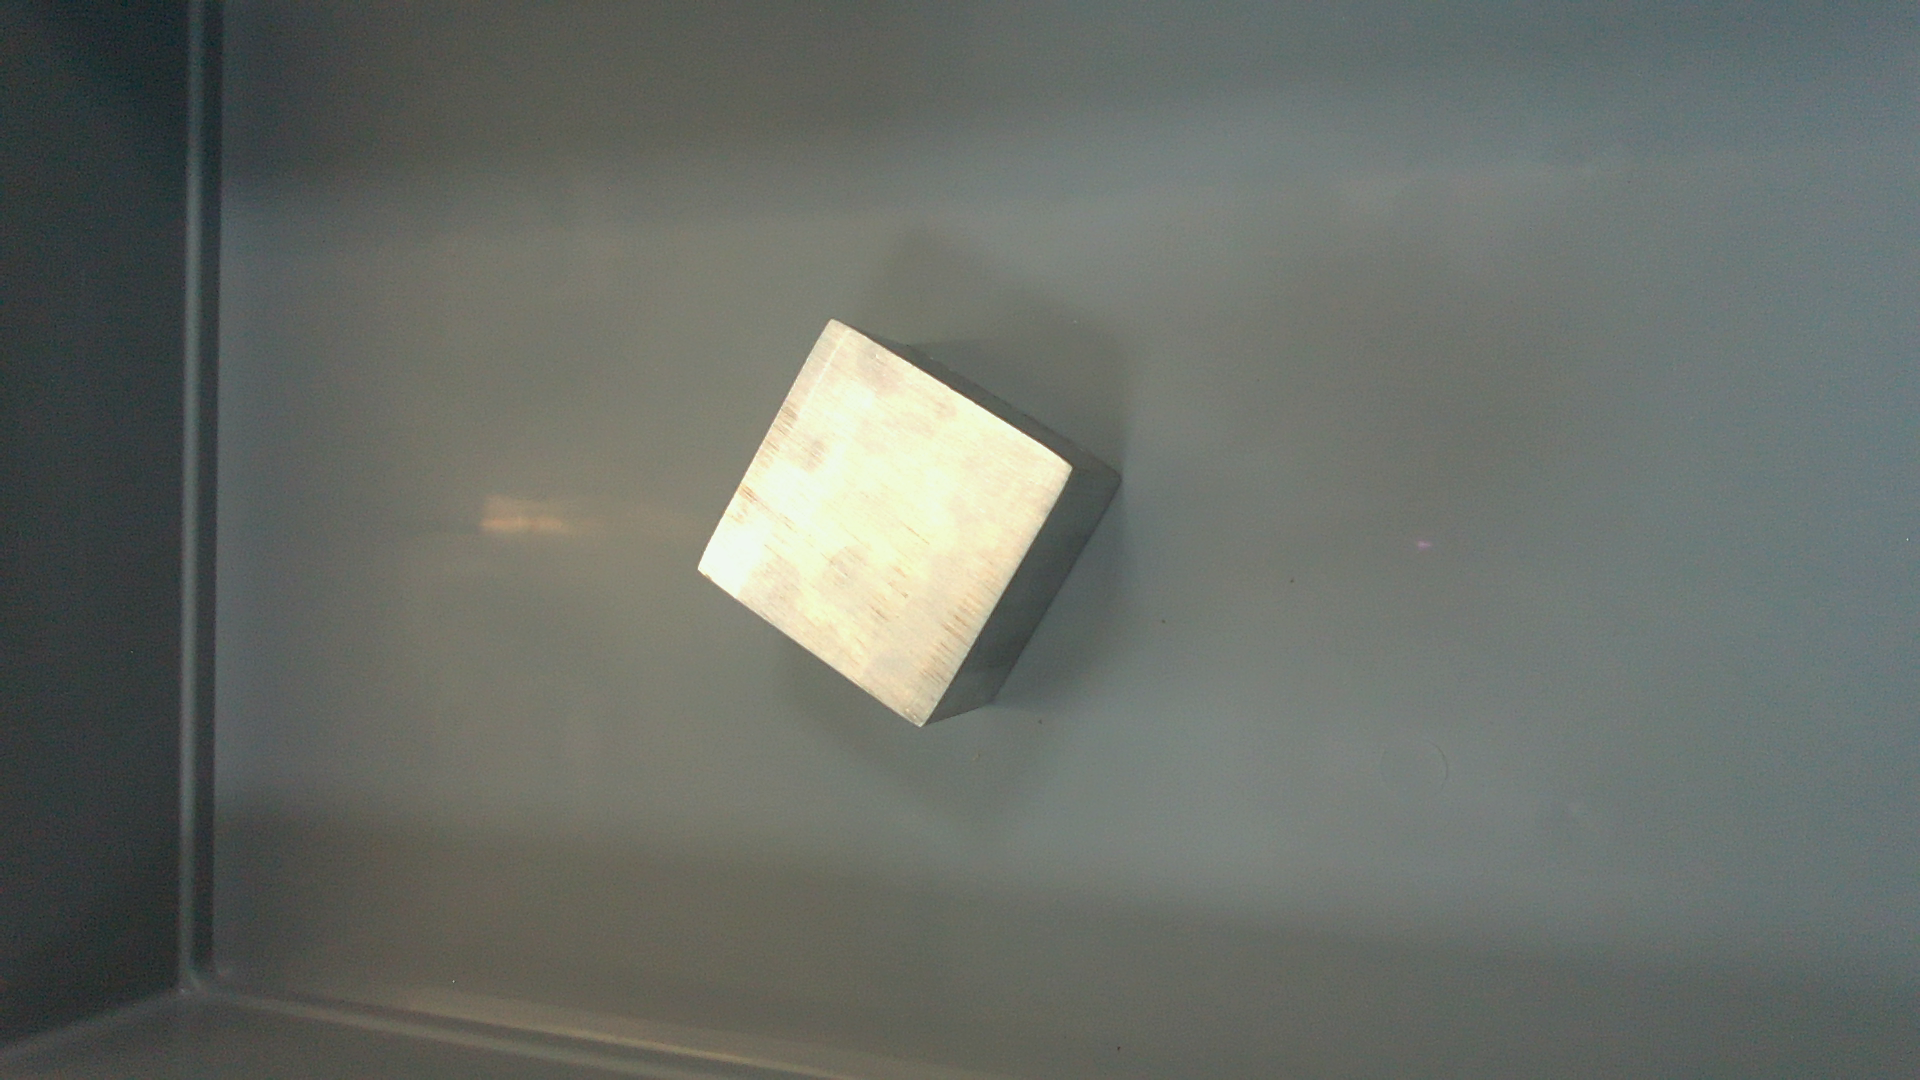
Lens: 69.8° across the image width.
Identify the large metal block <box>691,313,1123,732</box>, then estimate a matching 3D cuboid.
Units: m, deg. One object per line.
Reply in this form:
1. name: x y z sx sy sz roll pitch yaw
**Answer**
1. large metal block: -0.014 -0.005 0.384 0.080 0.050 0.080 33 100 17
